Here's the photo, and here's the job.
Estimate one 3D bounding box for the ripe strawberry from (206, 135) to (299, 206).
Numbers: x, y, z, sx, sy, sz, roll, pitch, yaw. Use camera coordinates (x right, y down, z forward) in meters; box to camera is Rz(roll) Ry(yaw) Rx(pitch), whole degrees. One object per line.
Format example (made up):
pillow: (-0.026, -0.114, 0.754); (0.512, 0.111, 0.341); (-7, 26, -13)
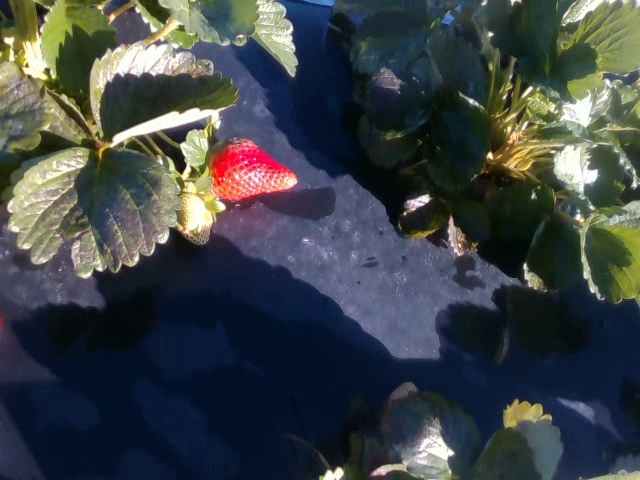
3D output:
ripe strawberry: (-0.043, -0.042, 0.377); (0.064, 0.050, 0.052); (10, 8, -7)
